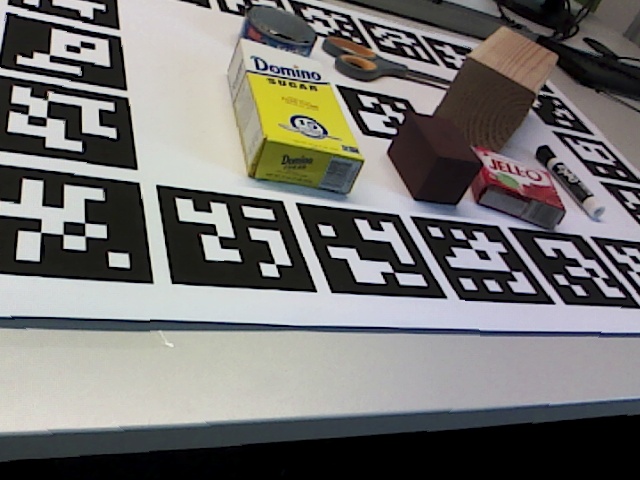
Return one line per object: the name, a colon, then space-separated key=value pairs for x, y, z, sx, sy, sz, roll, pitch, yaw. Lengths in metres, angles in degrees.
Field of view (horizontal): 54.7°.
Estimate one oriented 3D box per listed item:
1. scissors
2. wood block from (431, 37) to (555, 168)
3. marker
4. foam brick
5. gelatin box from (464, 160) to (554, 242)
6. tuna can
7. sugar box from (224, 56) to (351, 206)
scissors: x=0.092 y=-0.210 z=0.803 sx=0.202 sy=0.016 sz=0.088 roll=9 pitch=41 yaw=-18
wood block: x=0.225 y=-0.181 z=0.789 sx=0.090 sy=0.091 sz=0.206 roll=33 pitch=38 yaw=9
marker: x=0.283 y=-0.061 z=0.734 sx=0.019 sy=0.019 sz=0.121 roll=6 pitch=45 yaw=-24
foam brick: x=0.107 y=-0.068 z=0.612 sx=0.052 sy=0.051 sz=0.078 roll=6 pitch=43 yaw=-24
gelatin box: x=0.197 y=-0.043 z=0.659 sx=0.089 sy=0.030 sz=0.073 roll=17 pitch=40 yaw=-11
tuna can: x=-0.057 y=-0.225 z=0.717 sx=0.085 sy=0.034 sz=0.086 roll=15 pitch=40 yaw=-14
sugar box: x=-0.036 y=-0.109 z=0.592 sx=0.092 sy=0.045 sz=0.177 roll=9 pitch=41 yaw=-23
